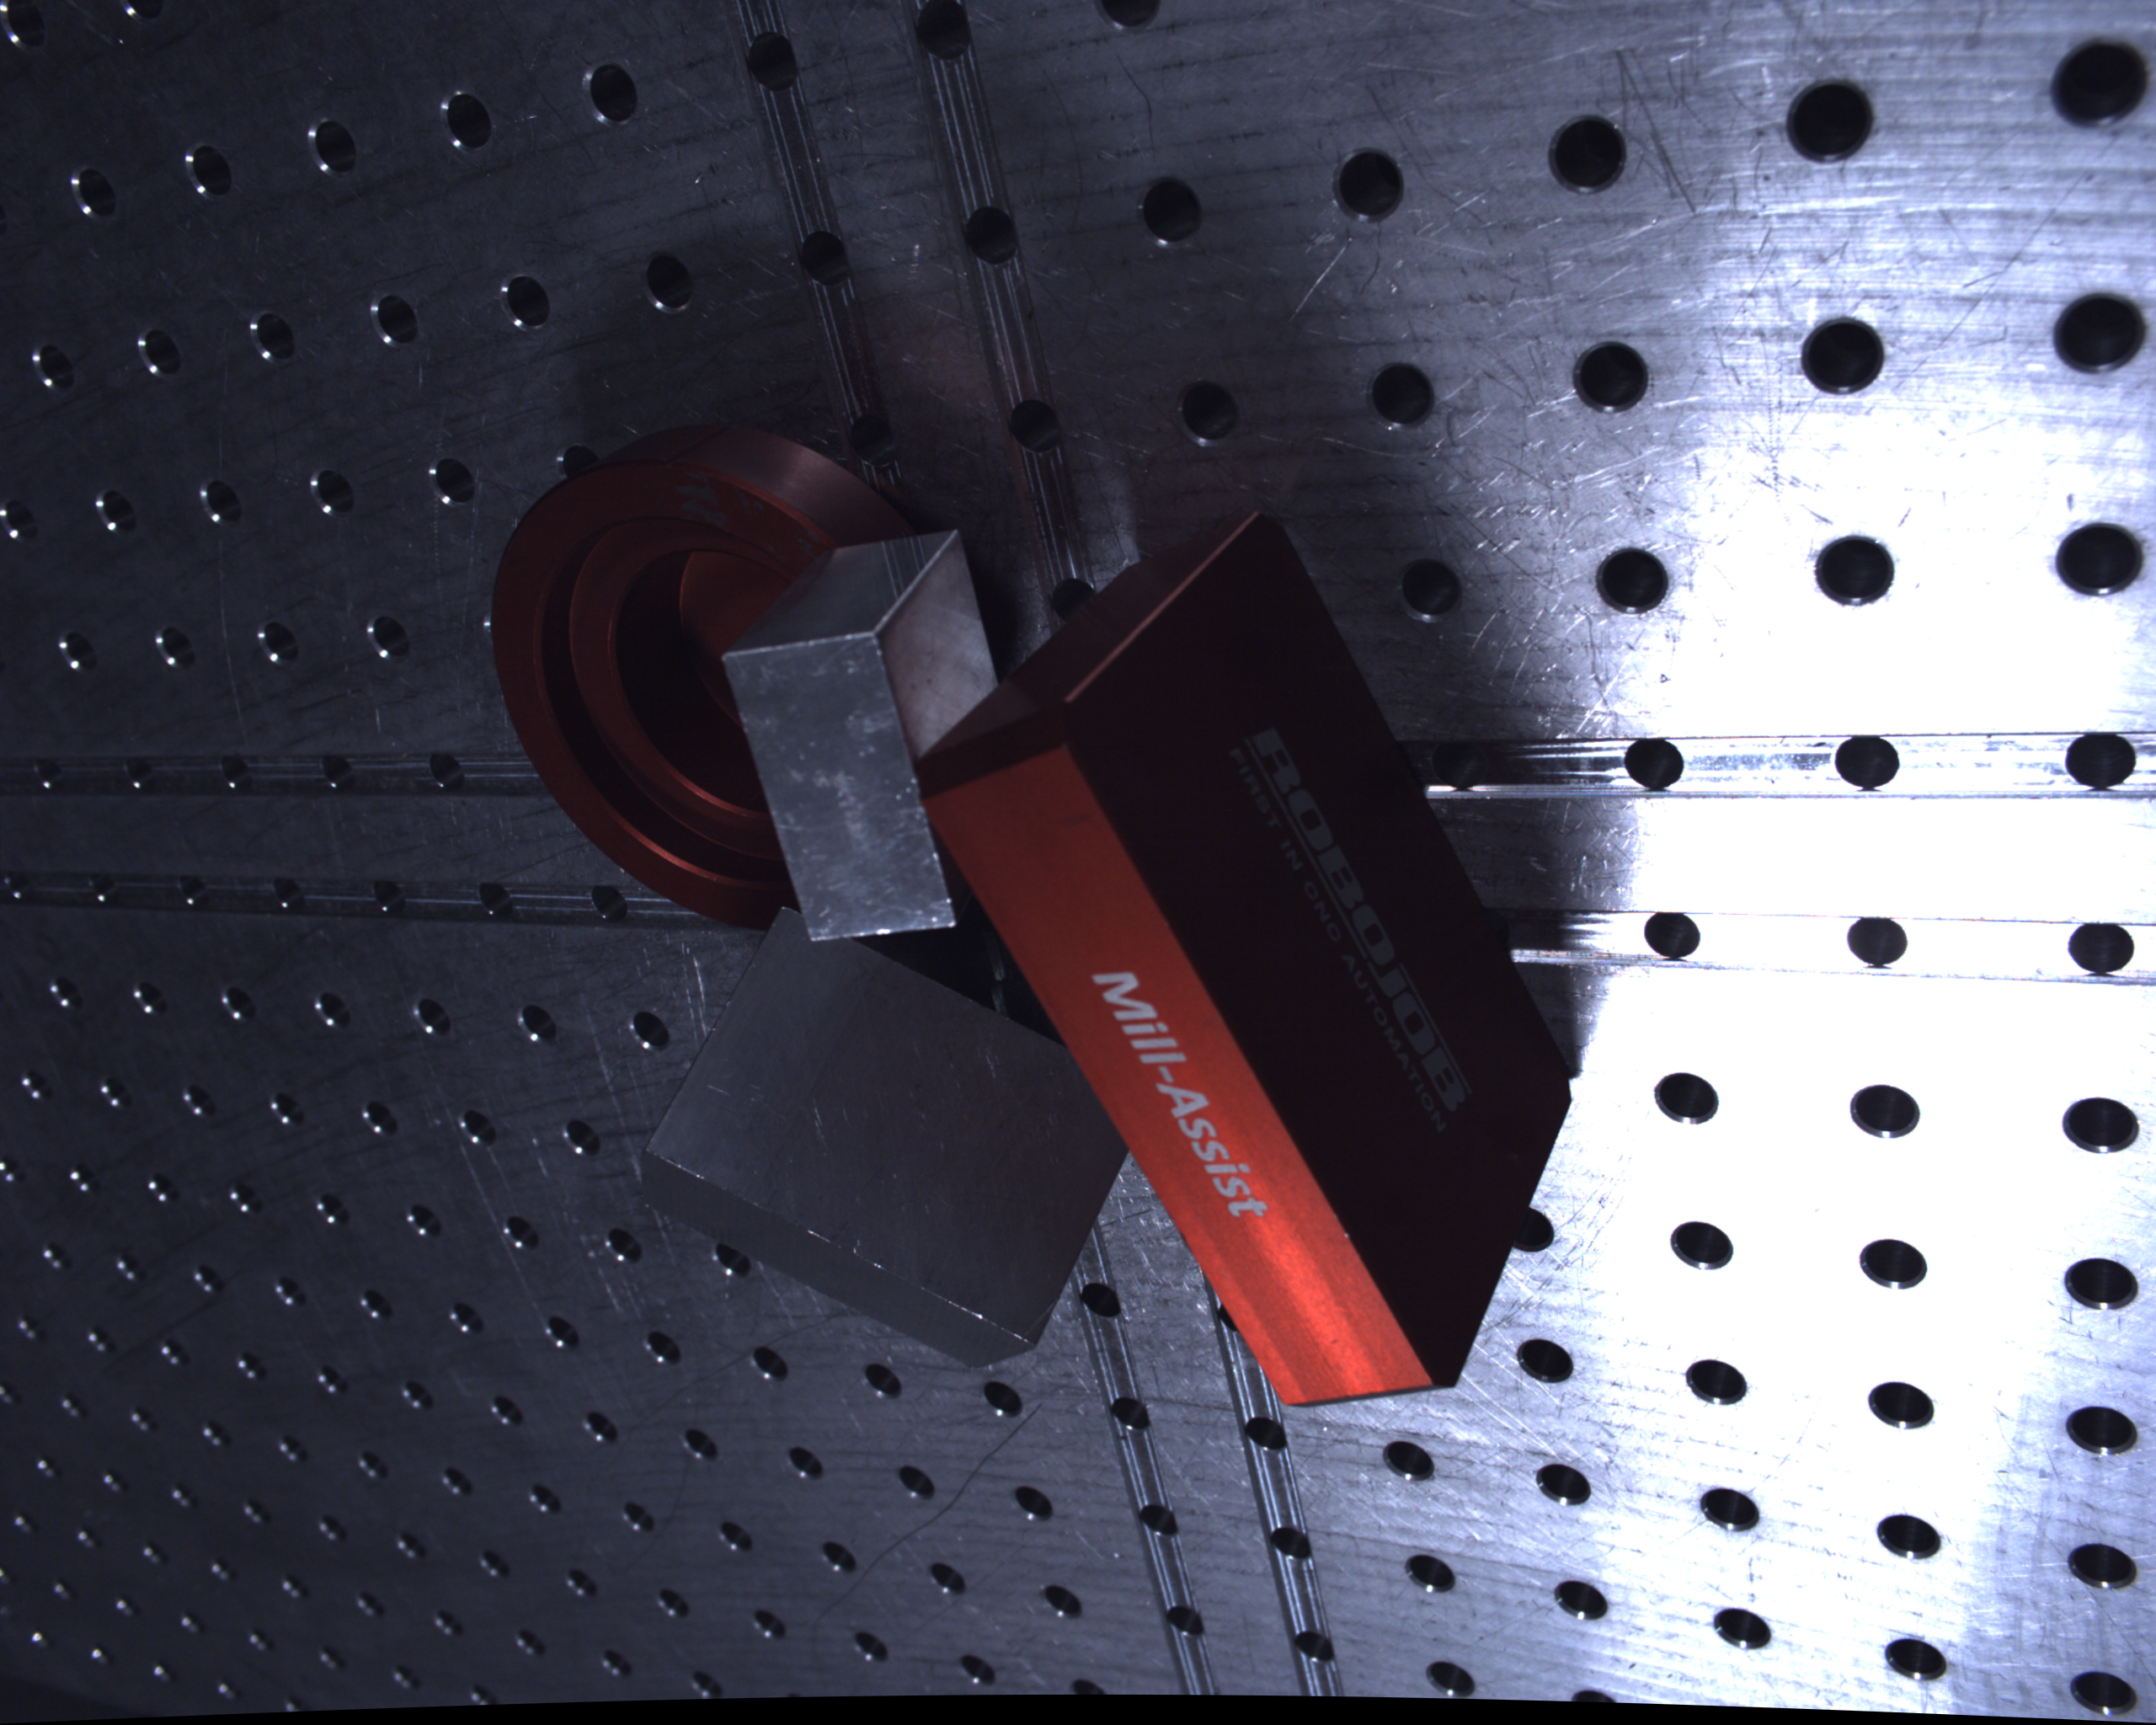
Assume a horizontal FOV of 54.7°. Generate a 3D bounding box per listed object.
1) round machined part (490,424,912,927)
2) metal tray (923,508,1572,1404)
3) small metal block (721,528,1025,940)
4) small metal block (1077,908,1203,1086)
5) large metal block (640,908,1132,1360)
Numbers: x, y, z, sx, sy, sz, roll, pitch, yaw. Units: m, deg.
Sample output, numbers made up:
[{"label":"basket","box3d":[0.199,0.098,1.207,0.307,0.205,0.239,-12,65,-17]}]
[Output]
[{"label":"round machined part","box3d":[-0.061,-0.039,0.406,0.098,0.042,0.097,13,124,20]},{"label":"metal tray","box3d":[0.035,0.015,0.359,0.030,0.090,0.130,-19,109,35]},{"label":"small metal block","box3d":[-0.032,-0.022,0.344,0.025,0.050,0.050,-7,115,15]},{"label":"small metal block","box3d":[0.028,0.030,0.407,0.050,0.025,0.050,19,131,30]},{"label":"large metal block","box3d":[-0.040,0.059,0.421,0.080,0.050,0.080,27,161,-3]}]
